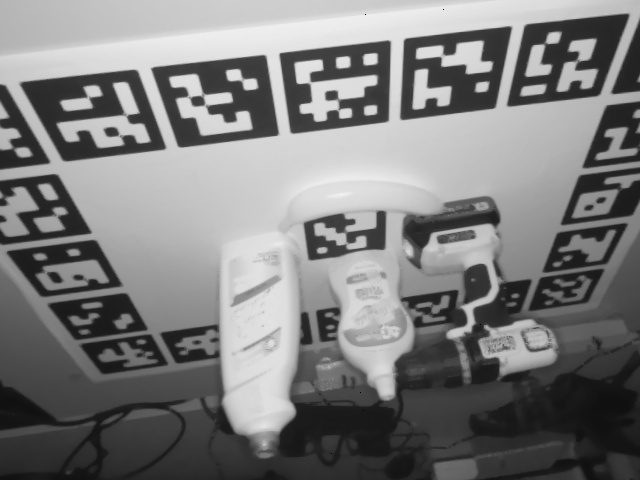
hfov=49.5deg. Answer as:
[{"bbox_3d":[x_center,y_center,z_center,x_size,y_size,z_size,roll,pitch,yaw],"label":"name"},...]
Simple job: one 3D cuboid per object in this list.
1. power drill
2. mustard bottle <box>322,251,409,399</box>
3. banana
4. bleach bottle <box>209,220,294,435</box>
[{"bbox_3d":[0.158,0.067,0.789,0.185,0.188,0.057,-5,146,1],"label":"power drill"},{"bbox_3d":[0.057,0.102,0.839,0.096,0.192,0.058,-4,139,-3],"label":"mustard bottle"},{"bbox_3d":[0.041,-0.046,0.781,0.198,0.039,0.073,-5,135,-7],"label":"banana"},{"bbox_3d":[-0.072,0.093,0.773,0.102,0.252,0.067,-11,138,3],"label":"bleach bottle"}]
